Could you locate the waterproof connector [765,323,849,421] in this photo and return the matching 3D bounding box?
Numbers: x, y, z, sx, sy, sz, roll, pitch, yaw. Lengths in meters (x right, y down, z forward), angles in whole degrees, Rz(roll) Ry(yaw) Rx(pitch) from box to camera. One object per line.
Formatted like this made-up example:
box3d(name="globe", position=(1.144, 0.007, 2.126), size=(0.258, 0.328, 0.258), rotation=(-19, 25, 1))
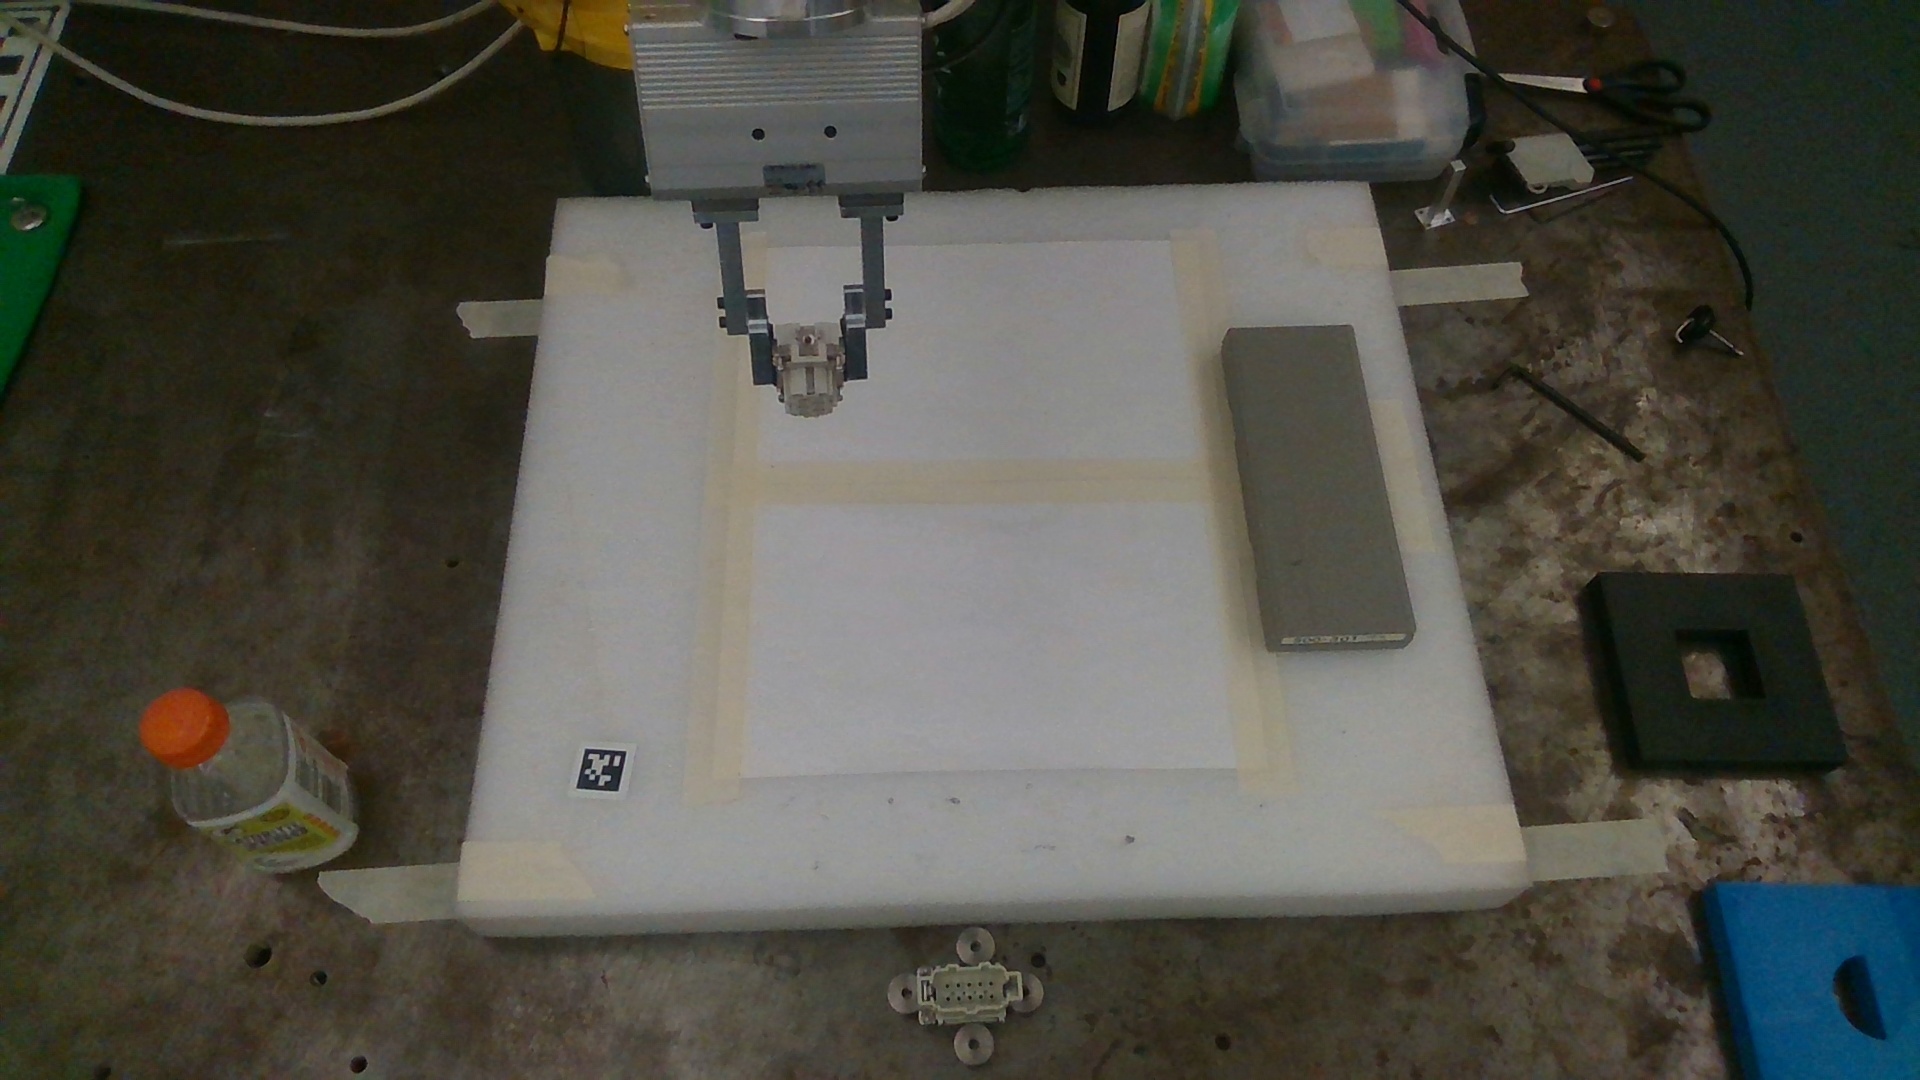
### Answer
box3d(name="waterproof connector", position=(-0.075, -0.083, 0.690), size=(0.037, 0.069, 0.038), rotation=(-2, 83, -1))
